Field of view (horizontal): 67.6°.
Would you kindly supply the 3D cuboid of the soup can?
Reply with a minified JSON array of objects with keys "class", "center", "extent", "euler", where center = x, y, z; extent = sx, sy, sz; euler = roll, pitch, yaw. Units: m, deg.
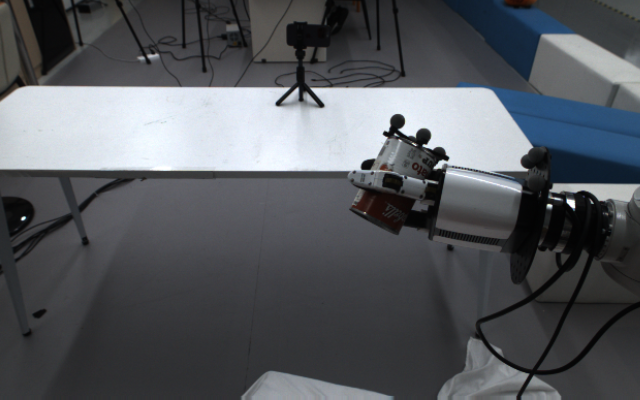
[{"class":"soup can","center":[0.090,-0.018,0.584],"extent":[0.067,0.101,0.067],"euler":[28,-2,1]}]
